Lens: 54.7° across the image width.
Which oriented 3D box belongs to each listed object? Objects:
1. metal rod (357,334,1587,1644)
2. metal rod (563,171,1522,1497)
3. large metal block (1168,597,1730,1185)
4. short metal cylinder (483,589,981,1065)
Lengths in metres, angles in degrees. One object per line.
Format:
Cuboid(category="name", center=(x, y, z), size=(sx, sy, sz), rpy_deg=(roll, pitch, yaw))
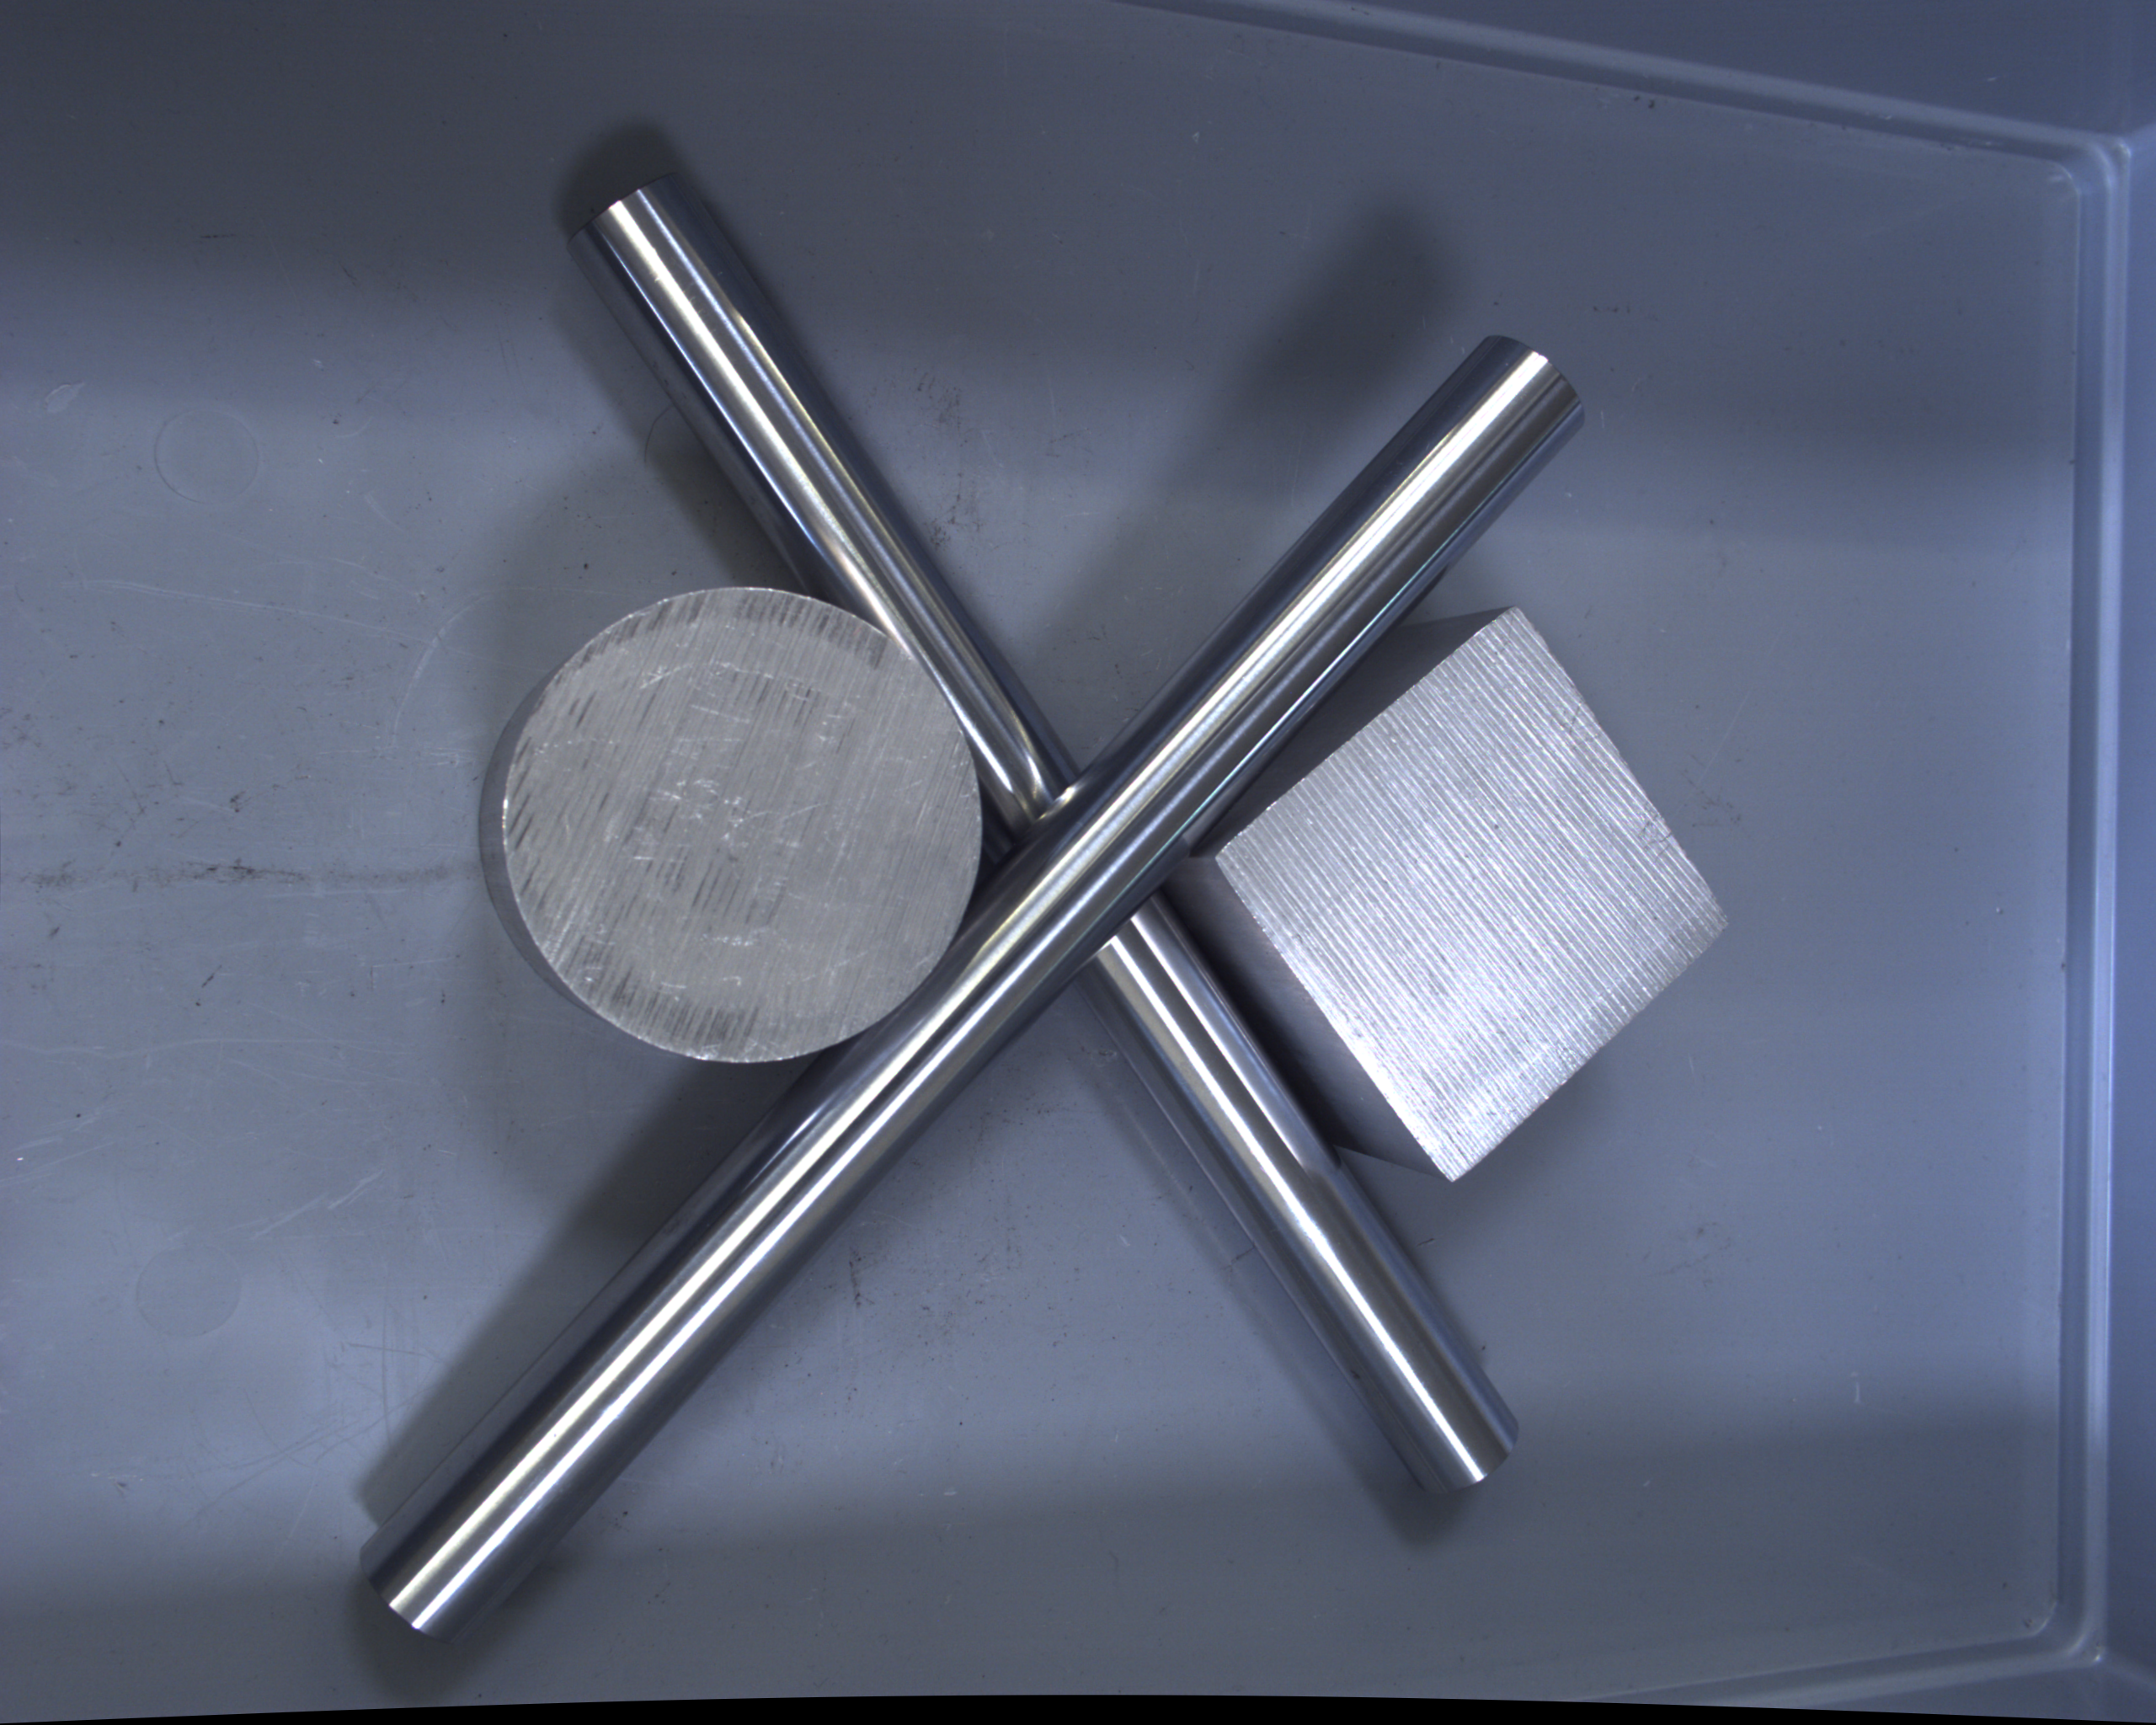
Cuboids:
Cuboid(category="metal rod", center=(-0.015, 0.019, 0.381), size=(0.025, 0.025, 0.300), rpy_deg=(44, 84, -15))
Cuboid(category="metal rod", center=(0.000, 0.003, 0.408), size=(0.025, 0.025, 0.299), rpy_deg=(-38, 102, -16))
Cuboid(category="large metal block", center=(0.068, 0.005, 0.420), size=(0.080, 0.050, 0.080), rpy_deg=(-40, 103, -16))
Cuboid(category="short metal cylinder", center=(-0.063, -0.006, 0.372), size=(0.081, 0.050, 0.079), rpy_deg=(0, 90, -20))
